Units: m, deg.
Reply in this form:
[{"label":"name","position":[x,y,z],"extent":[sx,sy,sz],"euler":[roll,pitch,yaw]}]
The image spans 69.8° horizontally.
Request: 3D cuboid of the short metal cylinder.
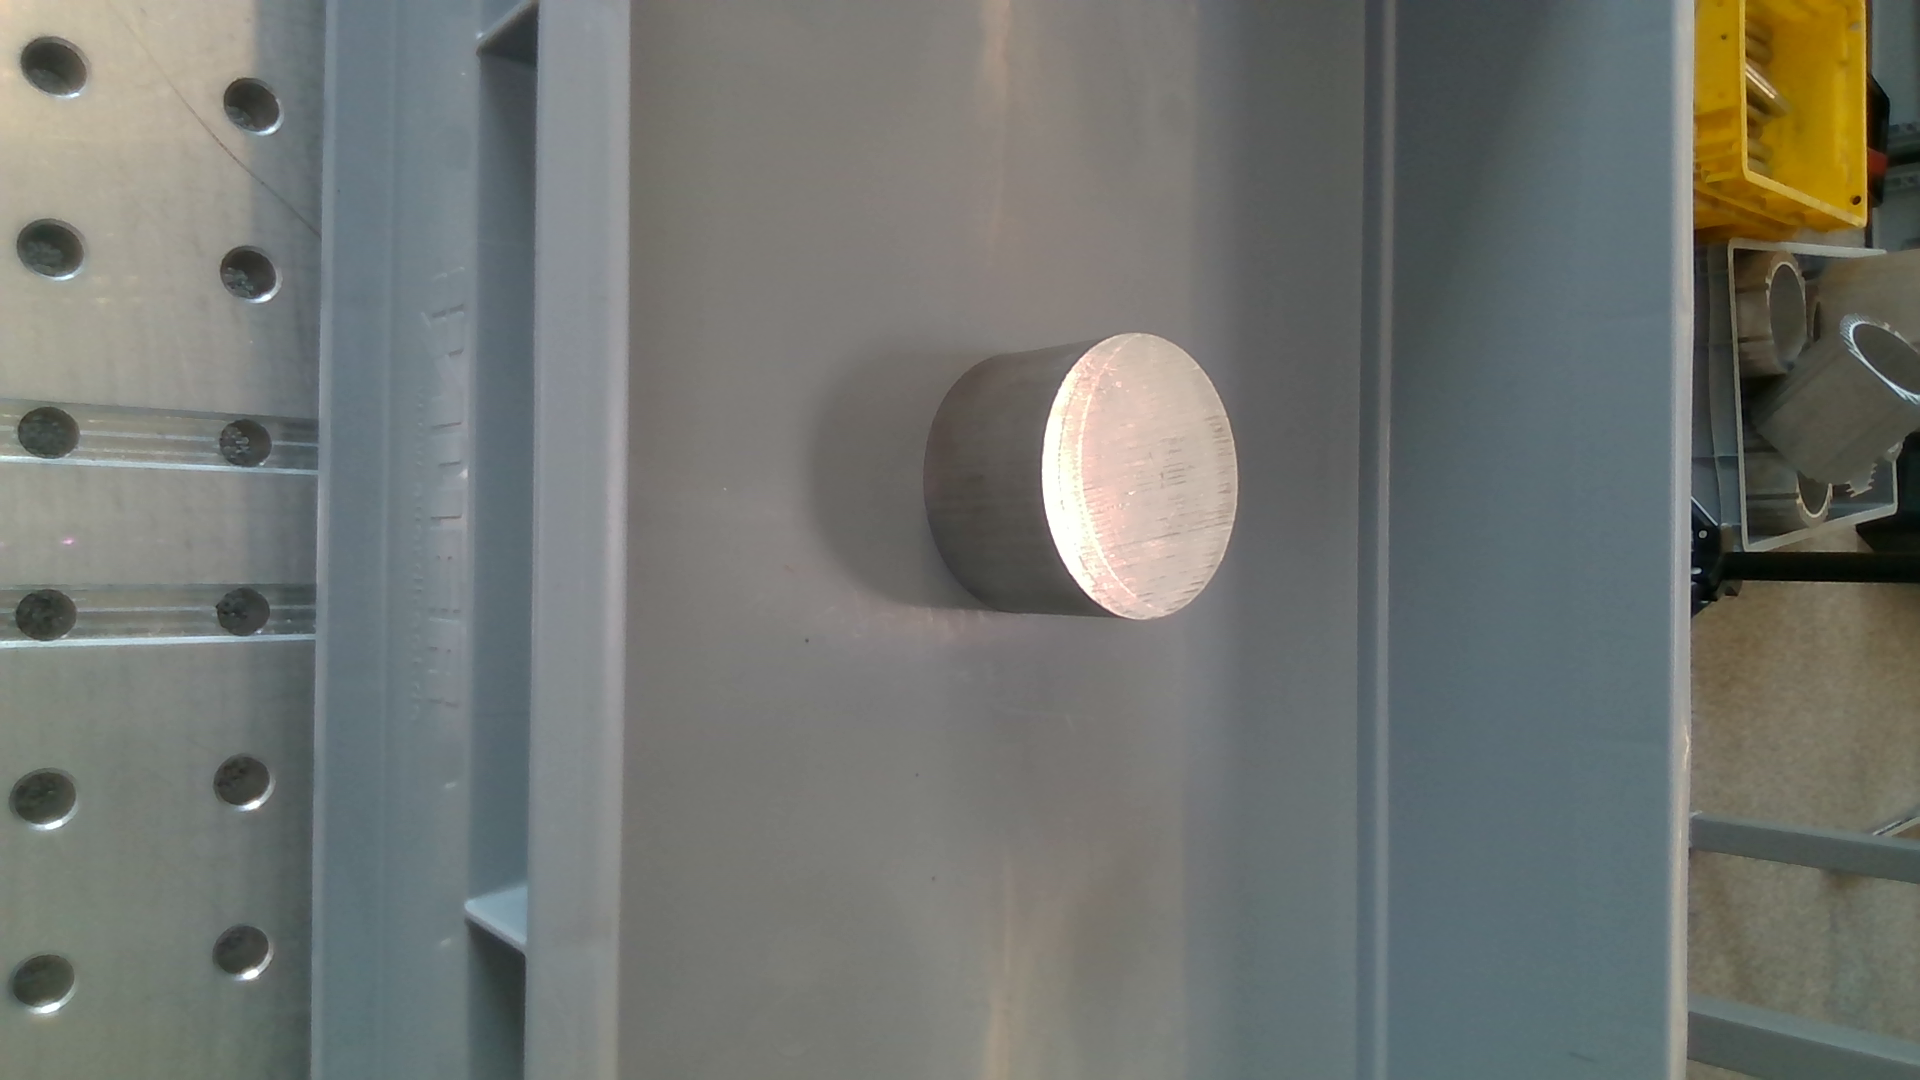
[{"label":"short metal cylinder","position":[0.035,-0.018,0.402],"extent":[0.080,0.050,0.080],"euler":[0,90,-40]}]
